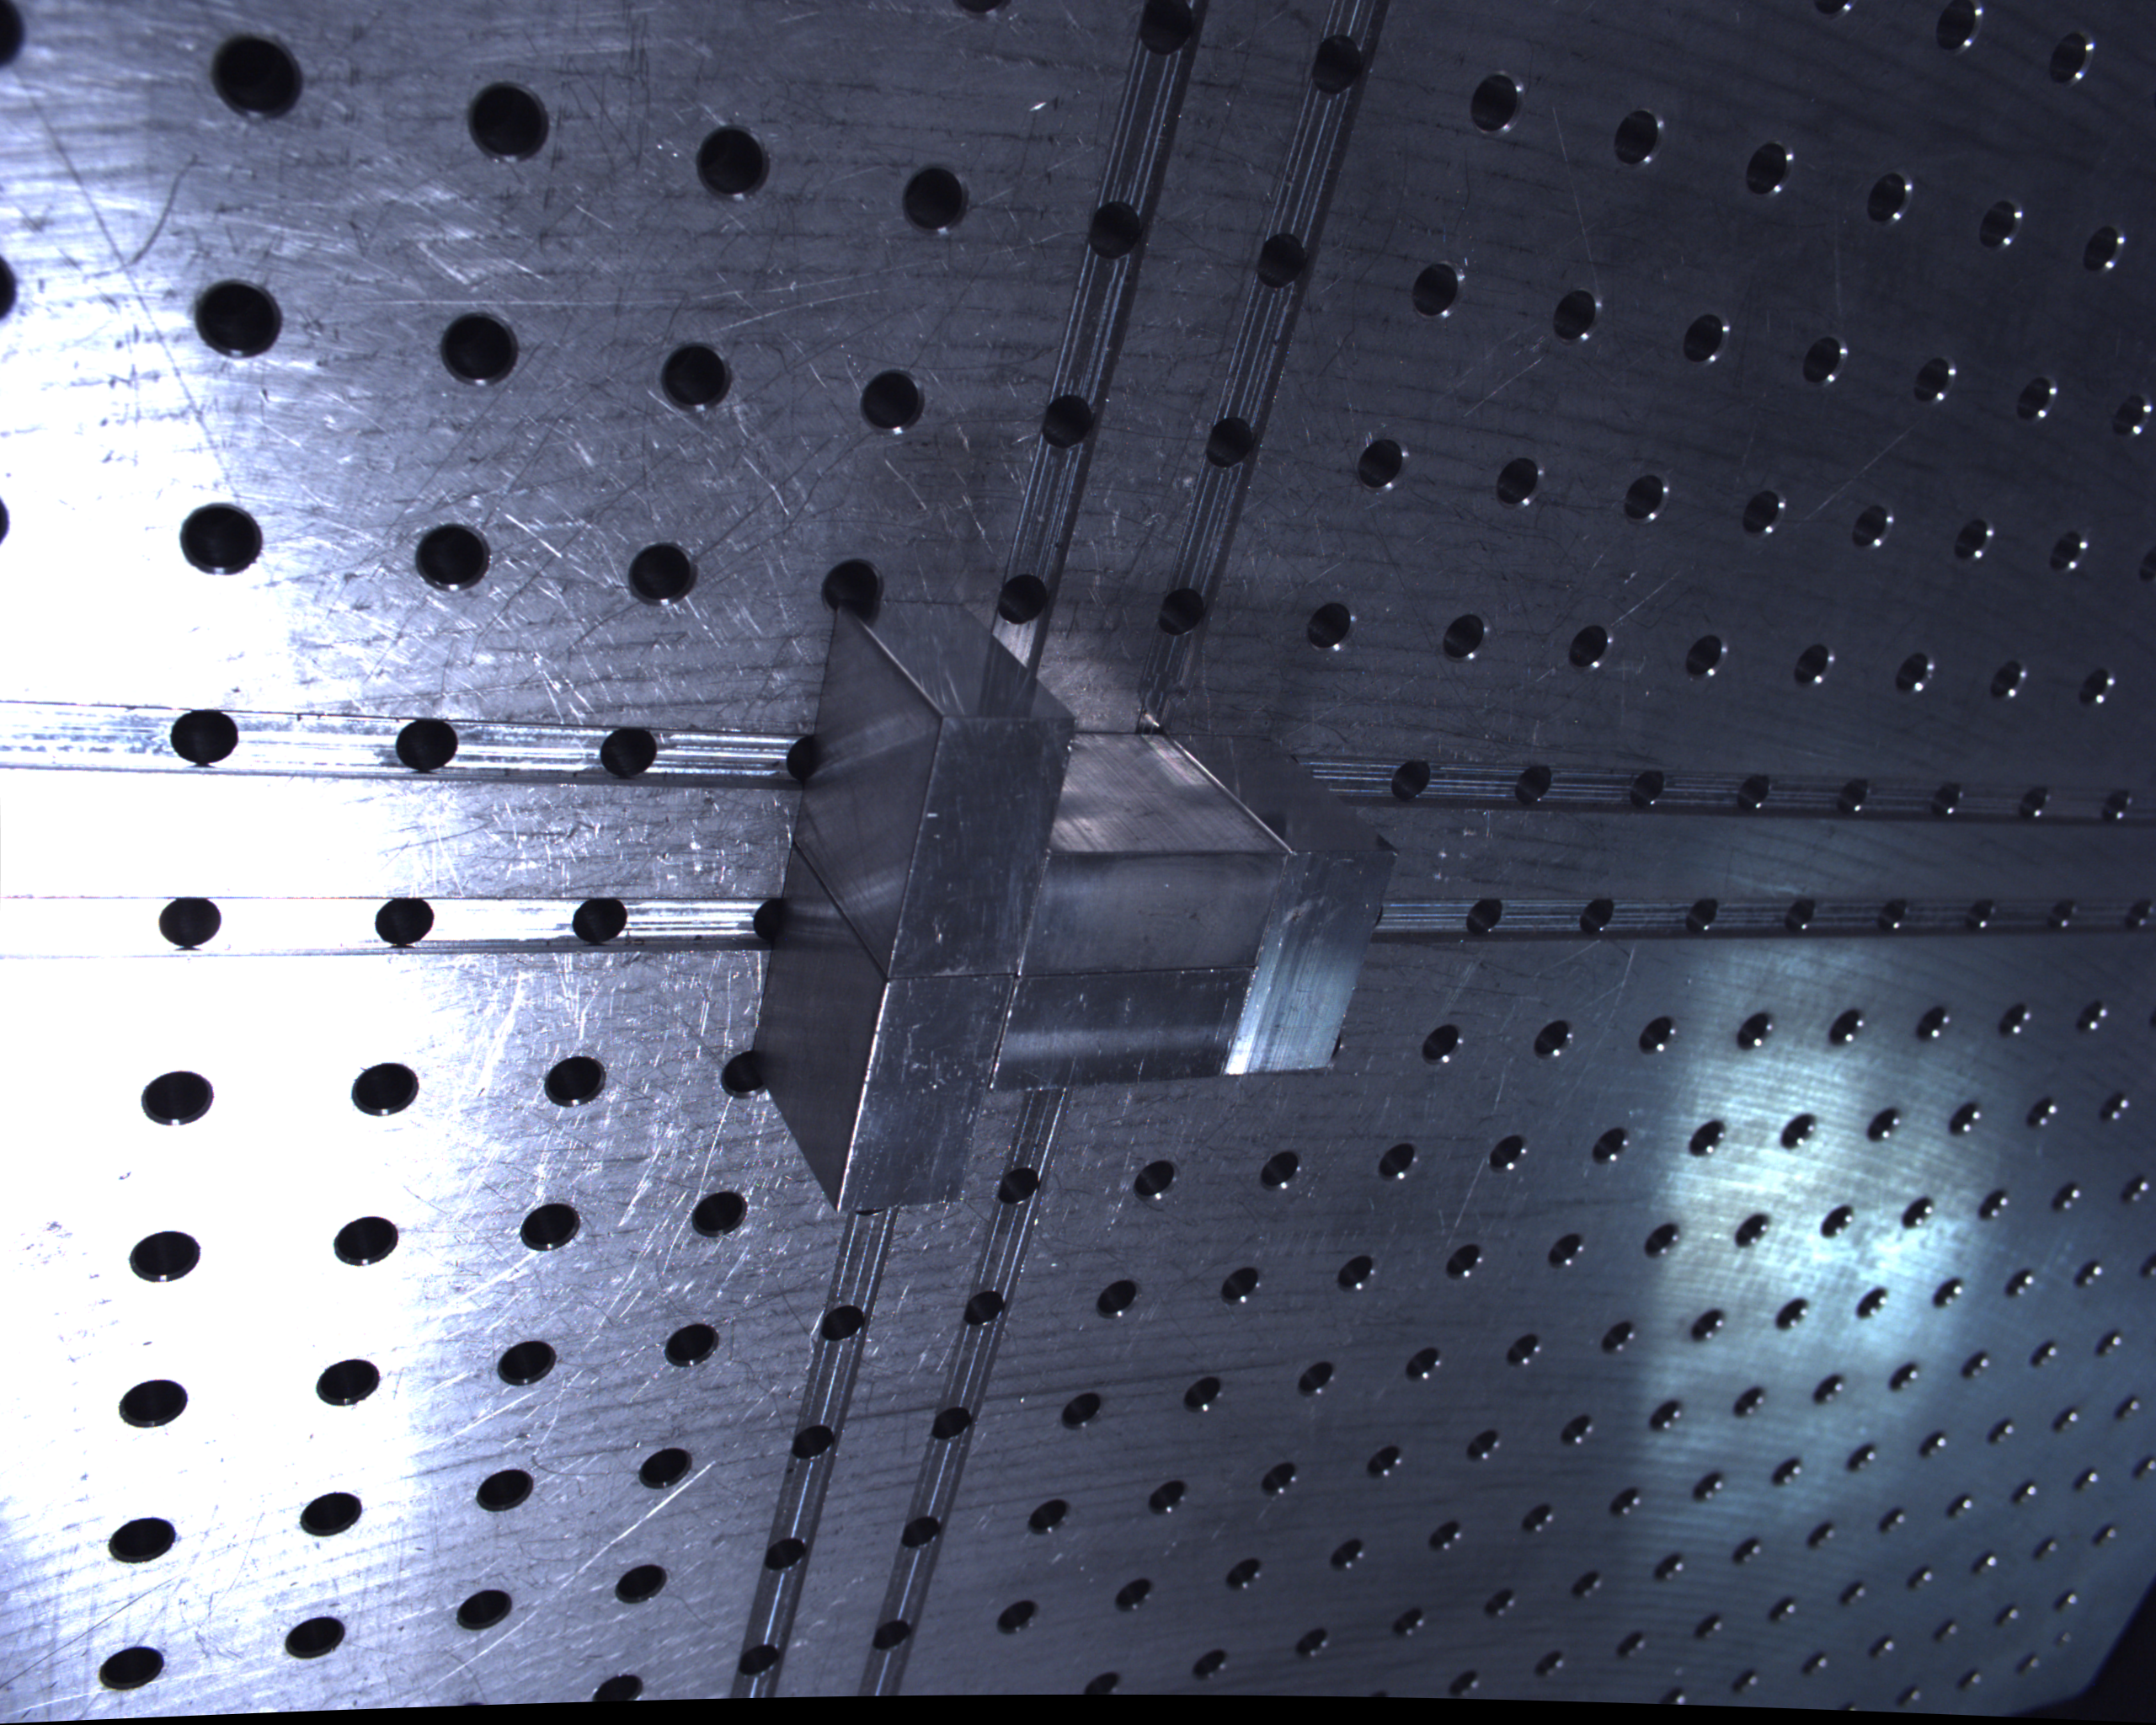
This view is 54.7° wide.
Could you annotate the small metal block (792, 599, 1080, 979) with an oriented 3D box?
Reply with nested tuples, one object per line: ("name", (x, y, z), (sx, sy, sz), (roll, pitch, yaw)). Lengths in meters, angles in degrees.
("small metal block", (-0.027, -0.014, 0.372), (0.025, 0.050, 0.050), (0, 119, -29))

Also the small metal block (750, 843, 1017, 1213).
("small metal block", (-0.038, 0.030, 0.393), (0.025, 0.050, 0.050), (0, 119, -29))

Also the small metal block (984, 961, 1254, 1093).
("small metal block", (-0.002, 0.019, 0.406), (0.050, 0.050, 0.025), (0, 119, -29))

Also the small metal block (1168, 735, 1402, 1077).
("small metal block", (0.034, 0.008, 0.419), (0.025, 0.050, 0.050), (0, 119, -29))

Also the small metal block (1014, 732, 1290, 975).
("small metal block", (0.004, -0.003, 0.396), (0.050, 0.050, 0.025), (0, 119, -29))
